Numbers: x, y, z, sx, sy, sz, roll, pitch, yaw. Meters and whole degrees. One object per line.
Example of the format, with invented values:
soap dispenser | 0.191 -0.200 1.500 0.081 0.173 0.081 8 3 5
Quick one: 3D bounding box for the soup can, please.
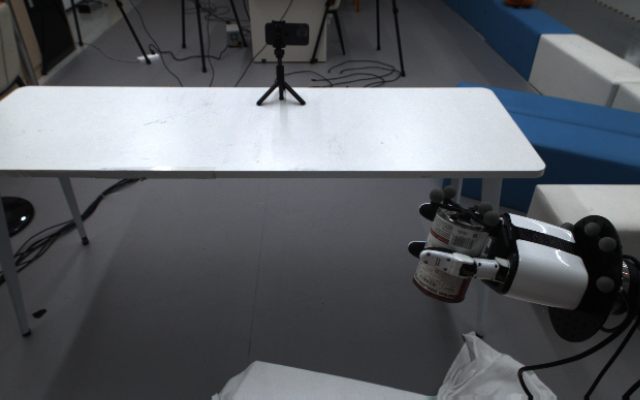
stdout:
soup can | 0.164 0.065 0.601 0.067 0.101 0.067 13 18 -4
